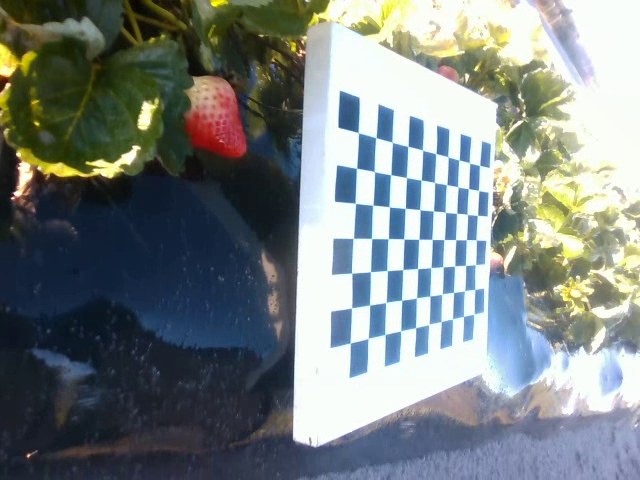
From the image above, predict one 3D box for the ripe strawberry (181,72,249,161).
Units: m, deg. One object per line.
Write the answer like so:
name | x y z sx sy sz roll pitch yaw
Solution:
ripe strawberry | -0.063 -0.070 0.372 0.040 0.040 0.065 -1 -42 36
